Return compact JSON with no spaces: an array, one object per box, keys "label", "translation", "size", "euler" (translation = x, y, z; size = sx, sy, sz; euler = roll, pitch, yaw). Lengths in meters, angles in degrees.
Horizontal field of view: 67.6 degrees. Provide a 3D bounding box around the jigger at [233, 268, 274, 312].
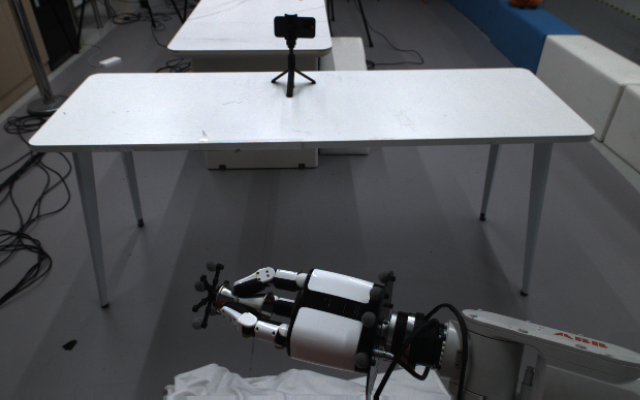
[{"label":"jigger","translation":[-0.095,0.137,0.654],"size":[0.071,0.043,0.043],"euler":[8,35,17]}]
